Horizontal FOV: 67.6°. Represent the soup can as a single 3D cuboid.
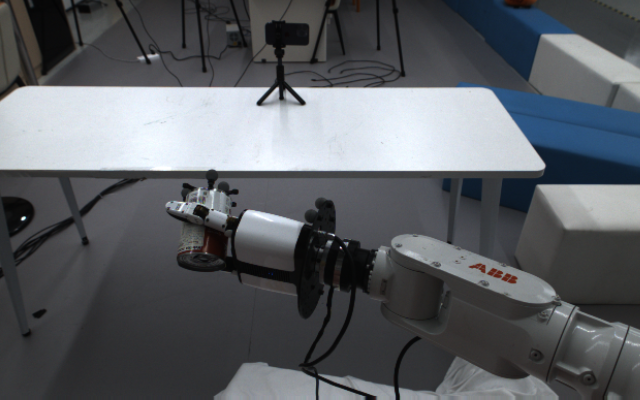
[{"bbox_3d":[-0.159,0.042,0.677,0.067,0.067,0.101,0,61,-3],"label":"soup can"}]
